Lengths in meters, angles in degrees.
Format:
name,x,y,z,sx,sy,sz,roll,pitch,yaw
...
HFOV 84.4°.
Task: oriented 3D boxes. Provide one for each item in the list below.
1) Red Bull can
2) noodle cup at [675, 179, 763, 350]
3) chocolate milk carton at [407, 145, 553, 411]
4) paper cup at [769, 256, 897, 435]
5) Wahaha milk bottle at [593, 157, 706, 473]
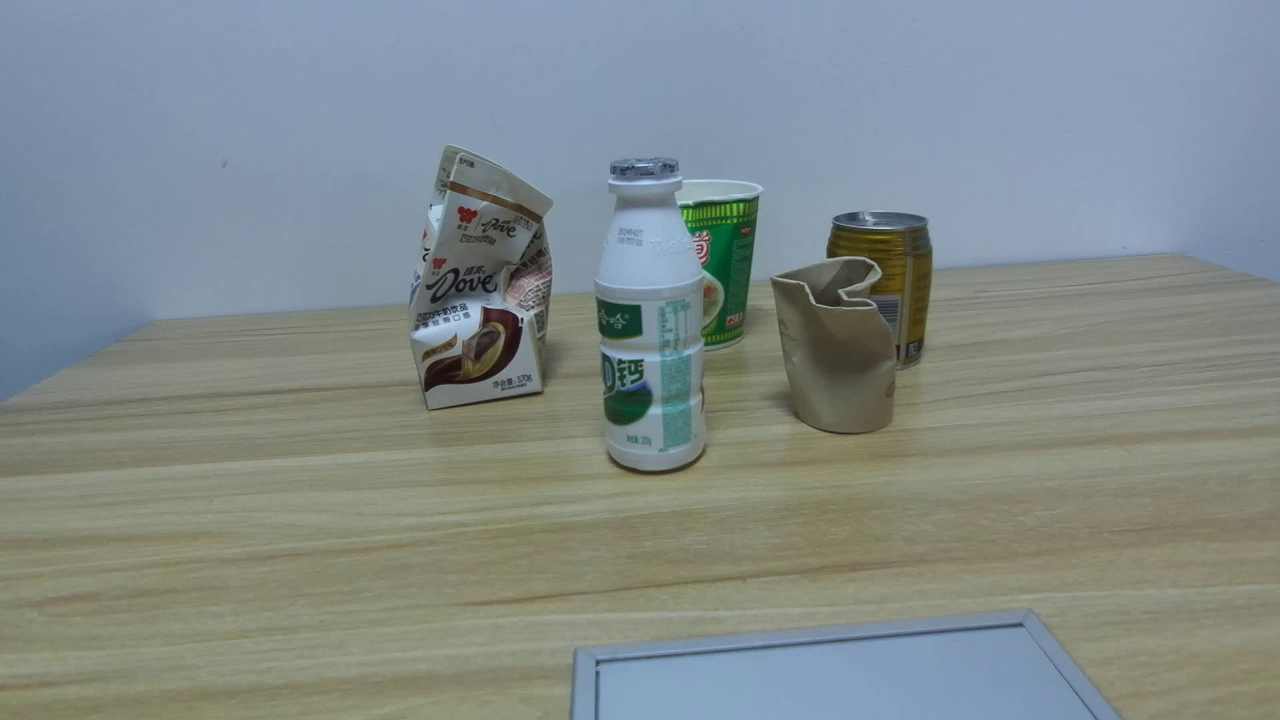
name,x,y,z,sx,sy,sz,roll,pitch,yaw
Red Bull can,0.155,-0.047,0.466,0.068,0.093,0.068,-2,21,1
noodle cup,0.044,-0.069,0.511,0.087,0.109,0.093,-22,29,-40
chocolate milk carton,-0.096,-0.050,0.441,0.089,0.155,0.076,5,23,-19
paper cup,0.112,-0.006,0.377,0.067,0.083,0.058,-18,29,-28
Wahaha milk bottle,0.005,-0.020,0.340,0.053,0.147,0.053,-3,20,1
